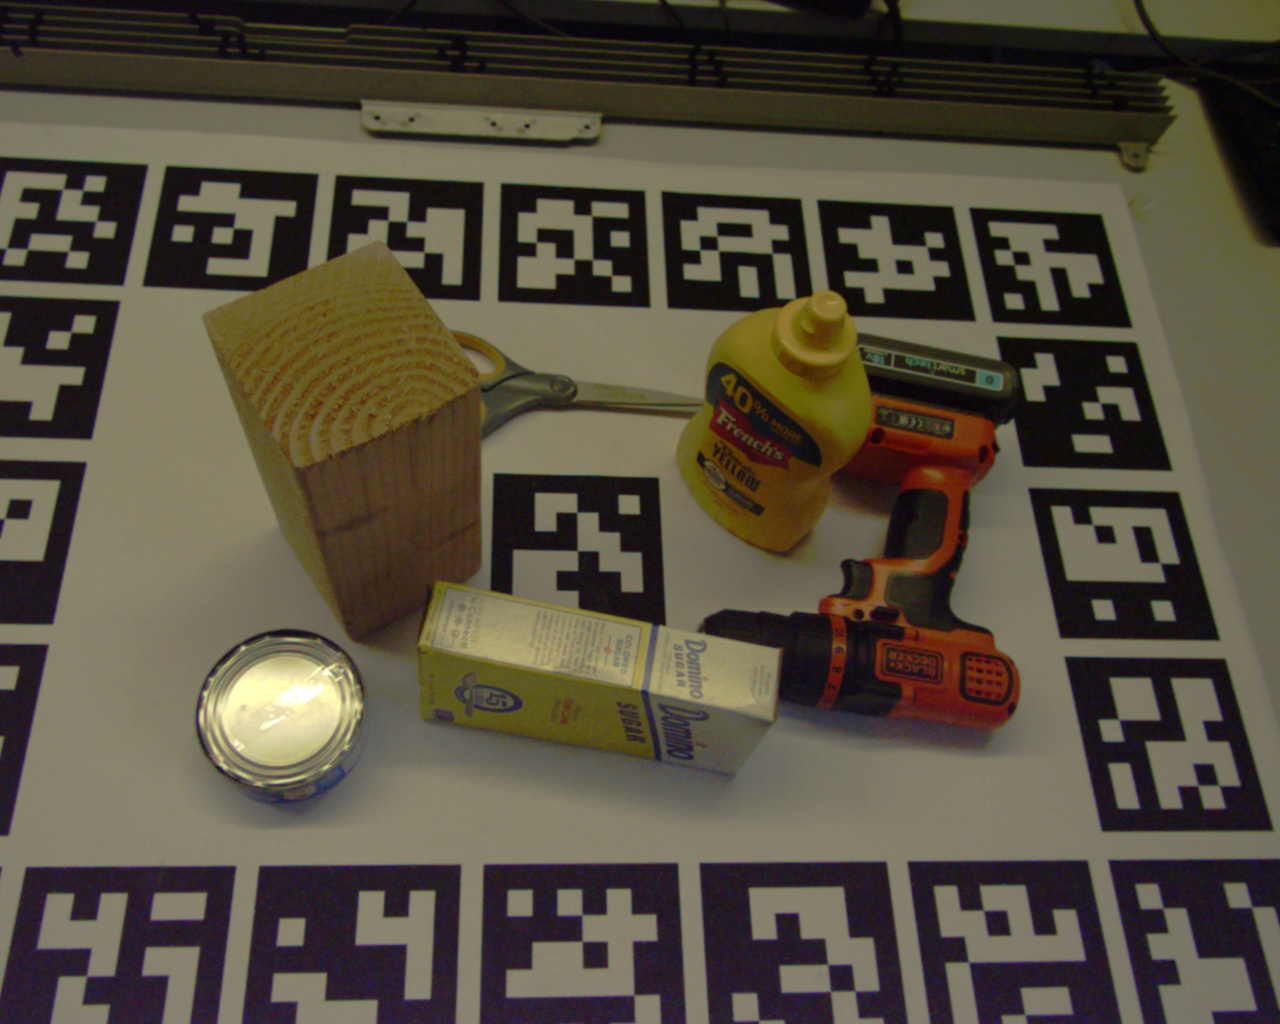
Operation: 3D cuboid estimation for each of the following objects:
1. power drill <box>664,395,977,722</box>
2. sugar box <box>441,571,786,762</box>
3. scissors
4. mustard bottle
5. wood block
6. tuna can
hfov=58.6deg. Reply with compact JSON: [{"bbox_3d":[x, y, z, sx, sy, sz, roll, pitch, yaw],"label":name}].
[{"bbox_3d":[0.119,0.022,0.688,0.184,0.057,0.187,14,71,0],"label":"power drill"},{"bbox_3d":[-0.019,0.088,0.624,0.176,0.093,0.045,14,61,-2],"label":"sugar box"},{"bbox_3d":[-0.069,-0.081,0.736,0.202,0.016,0.088,4,61,-4],"label":"scissors"},{"bbox_3d":[0.079,-0.051,0.652,0.058,0.191,0.097,-37,76,-20],"label":"mustard bottle"},{"bbox_3d":[-0.137,-0.028,0.610,0.090,0.206,0.090,-25,72,-17],"label":"wood block"},{"bbox_3d":[-0.186,0.099,0.627,0.085,0.034,0.086,2,66,-6],"label":"tuna can"}]
